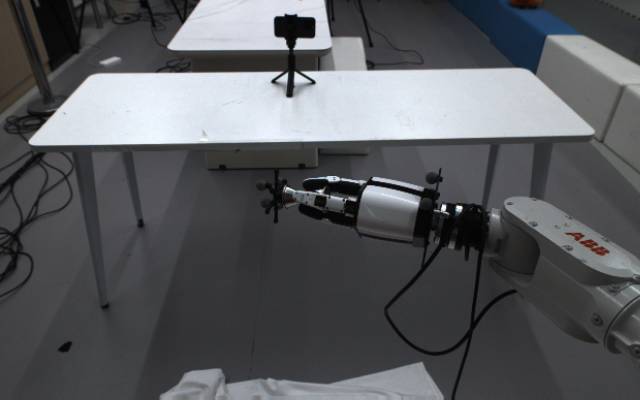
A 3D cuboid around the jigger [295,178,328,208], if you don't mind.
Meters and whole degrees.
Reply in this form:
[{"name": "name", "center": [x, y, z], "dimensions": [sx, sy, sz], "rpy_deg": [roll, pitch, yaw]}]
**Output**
[{"name": "jigger", "center": [-0.014, -0.008, 0.767], "dimensions": [0.071, 0.043, 0.043], "rpy_deg": [3, 34, 17]}]
